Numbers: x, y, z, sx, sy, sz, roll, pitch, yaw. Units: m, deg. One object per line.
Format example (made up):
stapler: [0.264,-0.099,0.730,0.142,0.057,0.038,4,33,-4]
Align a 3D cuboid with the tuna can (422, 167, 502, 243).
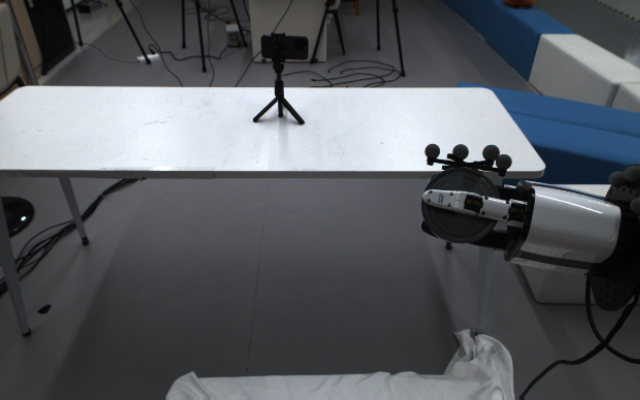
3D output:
tuna can: [0.160,0.002,0.552,0.085,0.085,0.034,10,-6,11]
